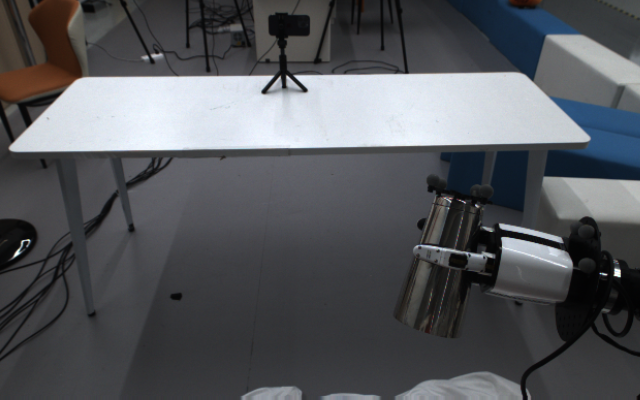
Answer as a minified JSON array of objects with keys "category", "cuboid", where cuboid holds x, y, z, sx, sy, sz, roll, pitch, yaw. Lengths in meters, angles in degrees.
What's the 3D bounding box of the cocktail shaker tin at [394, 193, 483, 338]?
[{"category":"cocktail shaker tin","cuboid":[0.163,0.083,0.643,0.093,0.170,0.093,14,2,0]}]
